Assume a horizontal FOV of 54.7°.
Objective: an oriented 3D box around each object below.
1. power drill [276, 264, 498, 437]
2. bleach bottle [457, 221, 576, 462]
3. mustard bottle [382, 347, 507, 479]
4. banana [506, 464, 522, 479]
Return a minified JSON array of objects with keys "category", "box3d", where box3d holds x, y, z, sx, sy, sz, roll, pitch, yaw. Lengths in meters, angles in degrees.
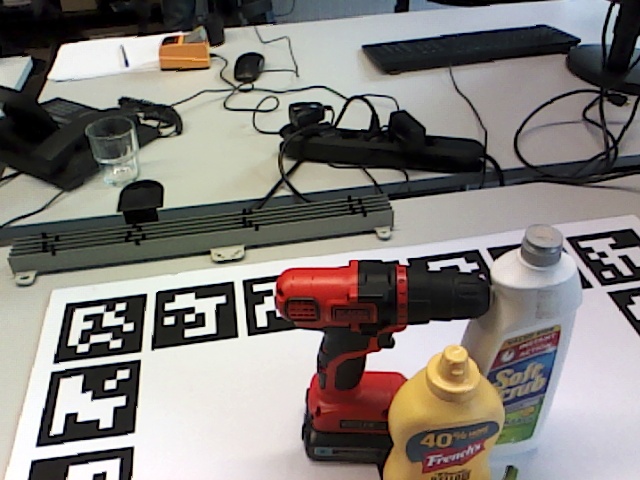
[{"category":"power drill","box3d":[0.055,0.103,0.562,0.185,0.186,0.057,2,39,3]},{"category":"bleach bottle","box3d":[0.166,0.096,0.559,0.102,0.250,0.068,-5,34,-3]},{"category":"mustard bottle","box3d":[0.106,0.159,0.524,0.096,0.191,0.059,-6,40,-6]},{"category":"banana","box3d":[0.092,0.246,0.554,0.197,0.039,0.074,-5,41,0]}]
